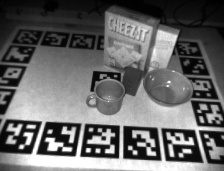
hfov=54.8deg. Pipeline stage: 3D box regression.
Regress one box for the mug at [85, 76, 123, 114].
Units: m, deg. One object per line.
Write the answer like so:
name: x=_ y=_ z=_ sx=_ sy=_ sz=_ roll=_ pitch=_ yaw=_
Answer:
mug: x=-0.027 y=0.031 z=0.649 sx=0.117 sy=0.082 sz=0.092 roll=-4 pitch=41 yaw=-6

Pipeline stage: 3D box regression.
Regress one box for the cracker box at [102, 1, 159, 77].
cracker box: x=0.051 y=-0.149 z=0.734 sx=0.163 sy=0.214 sz=0.072 roll=27 pitch=50 yaw=18

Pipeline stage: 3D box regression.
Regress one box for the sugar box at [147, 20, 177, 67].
sugar box: x=0.162 y=-0.140 z=0.759 sx=0.092 sy=0.177 sz=0.045 roll=19 pitch=50 yaw=14

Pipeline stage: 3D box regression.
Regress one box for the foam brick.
foam brick: x=0.059 y=-0.026 z=0.721 sx=0.052 sy=0.078 sz=0.051 roll=15 pitch=48 yaw=10

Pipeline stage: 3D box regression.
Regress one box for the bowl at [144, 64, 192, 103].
bowl: x=0.180 y=0.003 z=0.701 sx=0.162 sy=0.055 sz=0.161 roll=3 pitch=49 yaw=-2
